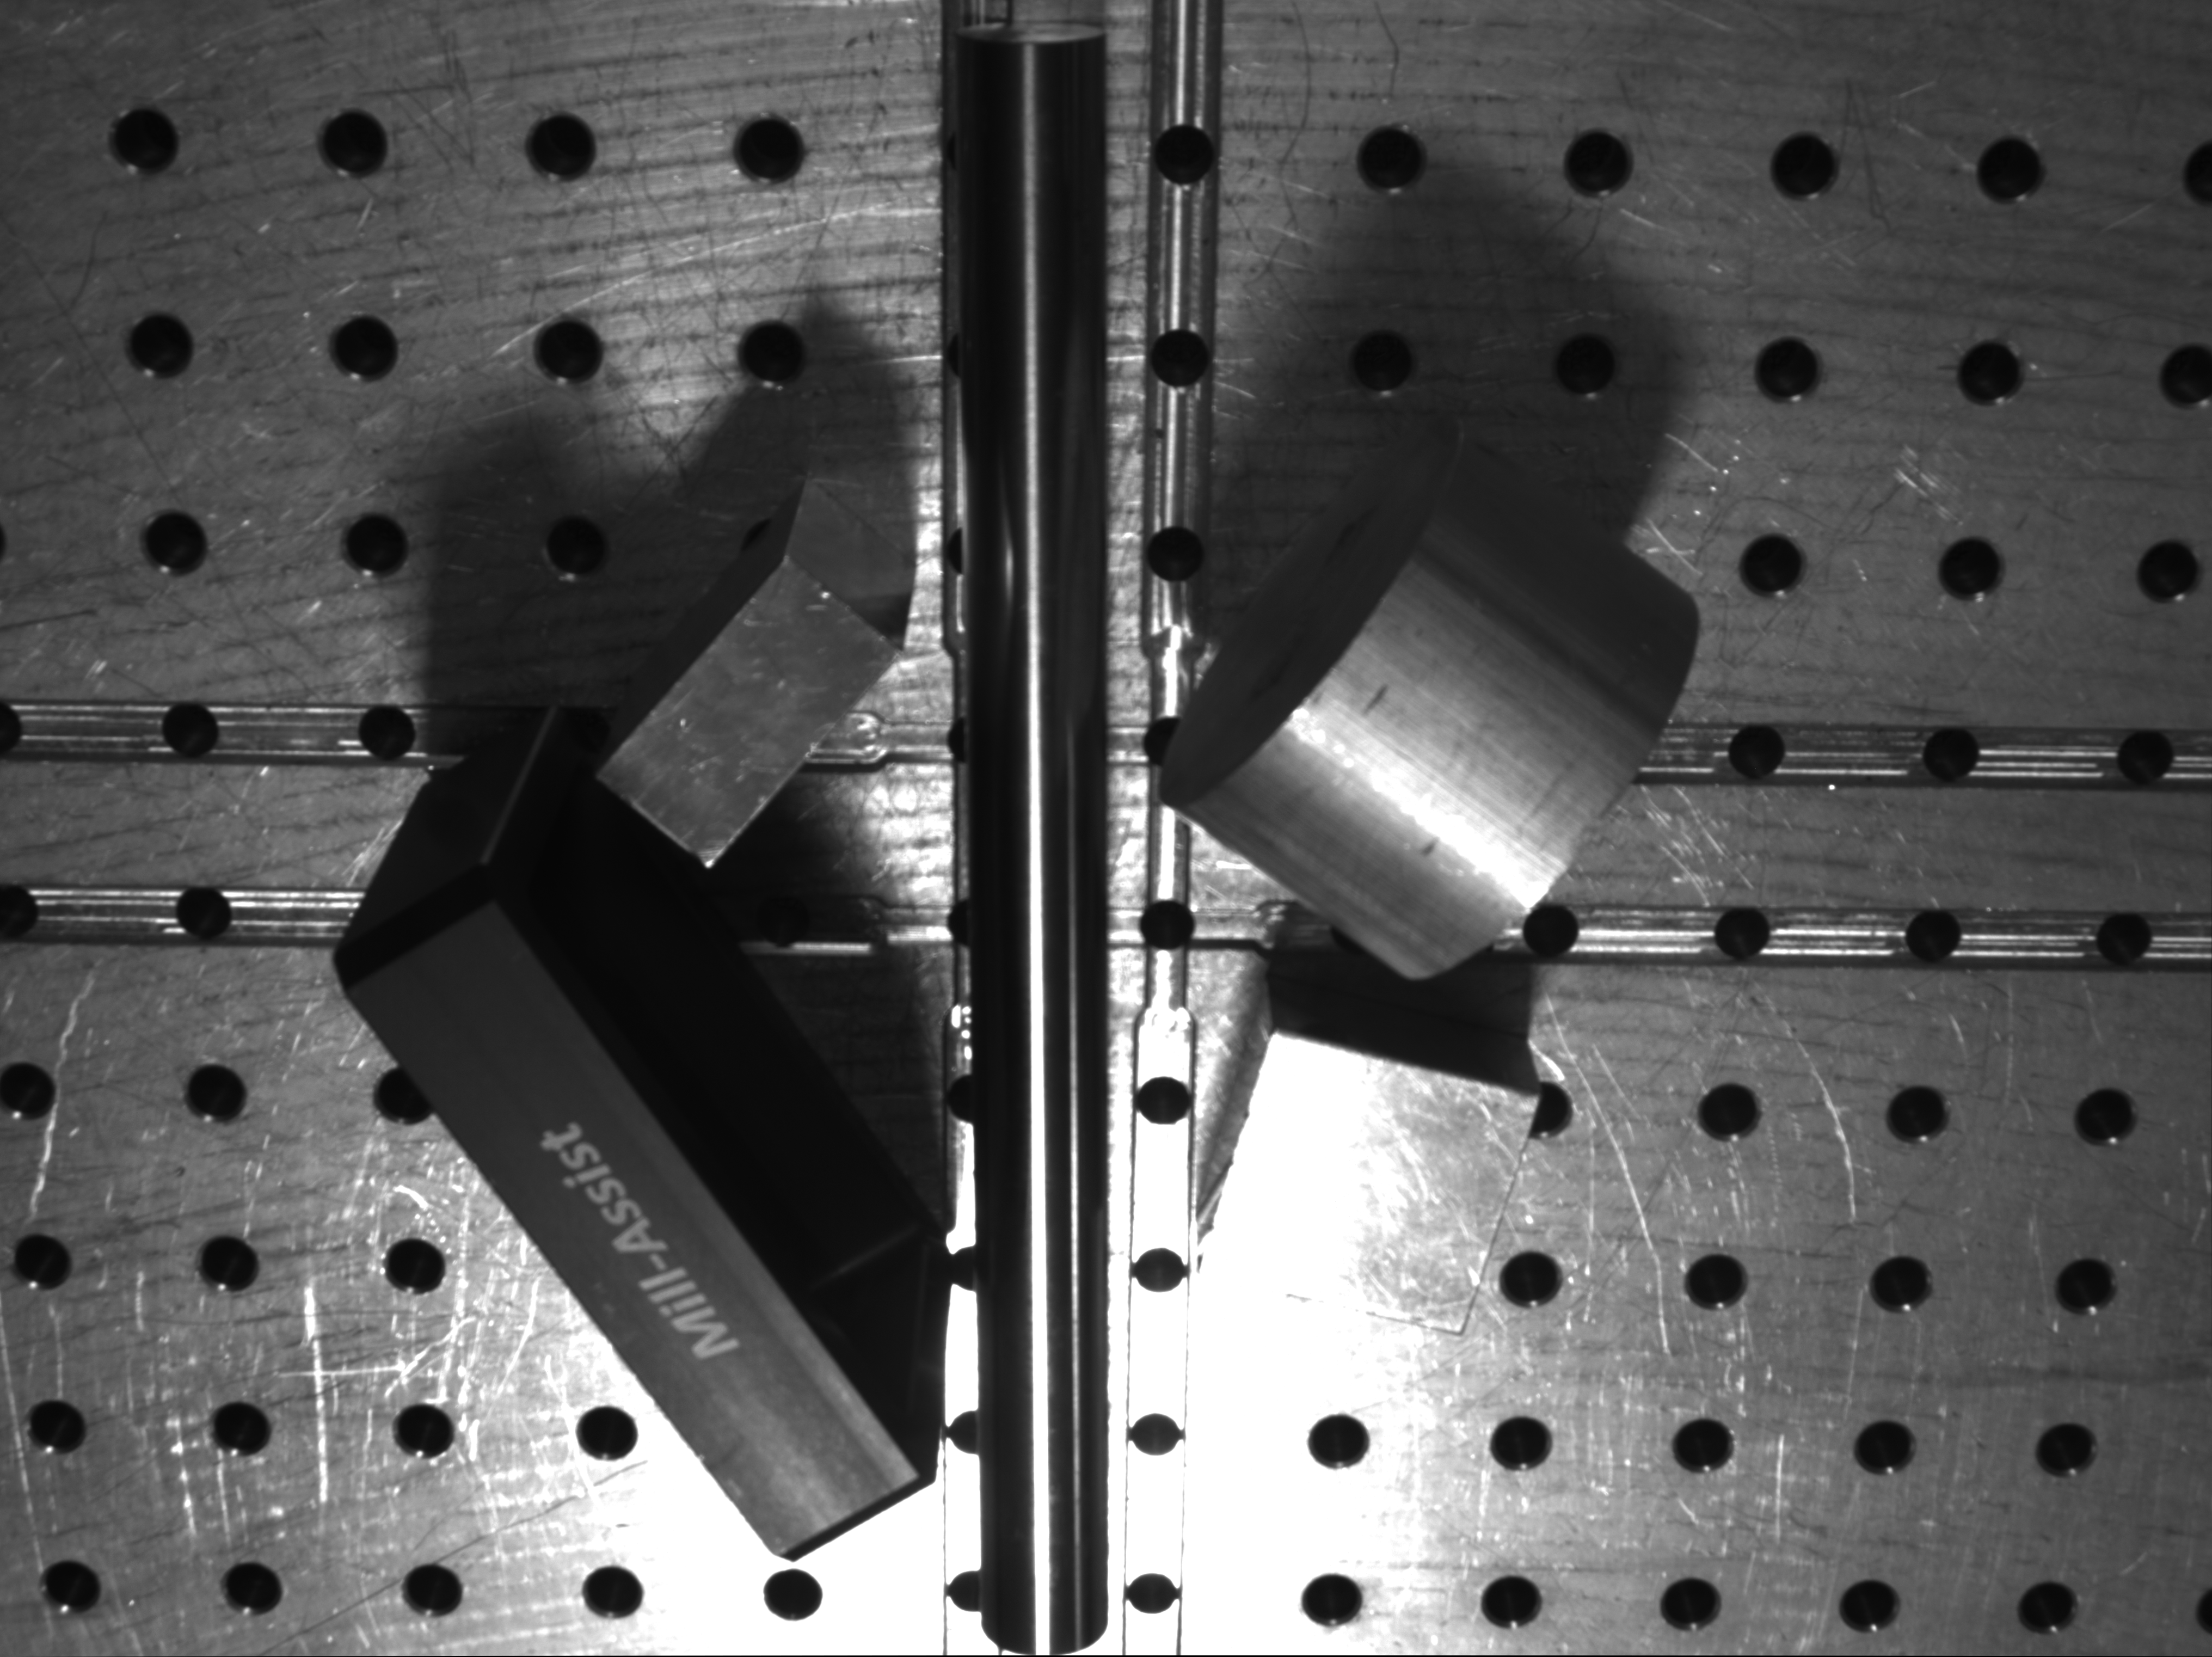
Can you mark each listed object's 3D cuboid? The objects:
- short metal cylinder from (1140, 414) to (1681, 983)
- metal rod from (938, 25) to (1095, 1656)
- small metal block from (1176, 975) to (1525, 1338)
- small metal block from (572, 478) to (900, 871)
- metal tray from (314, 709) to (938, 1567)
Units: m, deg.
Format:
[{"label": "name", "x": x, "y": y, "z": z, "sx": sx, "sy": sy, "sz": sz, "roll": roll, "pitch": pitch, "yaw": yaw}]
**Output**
[{"label": "short metal cylinder", "x": 0.050, "y": -0.022, "z": 0.609, "sx": 0.050, "sy": 0.080, "sz": 0.080, "roll": 36, "pitch": 106, "yaw": -12}, {"label": "metal rod", "x": -0.015, "y": 0.012, "z": 0.649, "sx": 0.025, "sy": 0.025, "sz": 0.300, "roll": 0, "pitch": 110, "yaw": 0}, {"label": "small metal block", "x": 0.044, "y": 0.060, "z": 0.668, "sx": 0.050, "sy": 0.025, "sz": 0.050, "roll": 14, "pitch": 109, "yaw": -6}, {"label": "small metal block", "x": -0.062, "y": -0.027, "z": 0.621, "sx": 0.025, "sy": 0.050, "sz": 0.050, "roll": 40, "pitch": 105, "yaw": -13}, {"label": "metal tray", "x": -0.078, "y": 0.051, "z": 0.628, "sx": 0.030, "sy": 0.090, "sz": 0.130, "roll": -31, "pitch": 107, "yaw": 10}]
